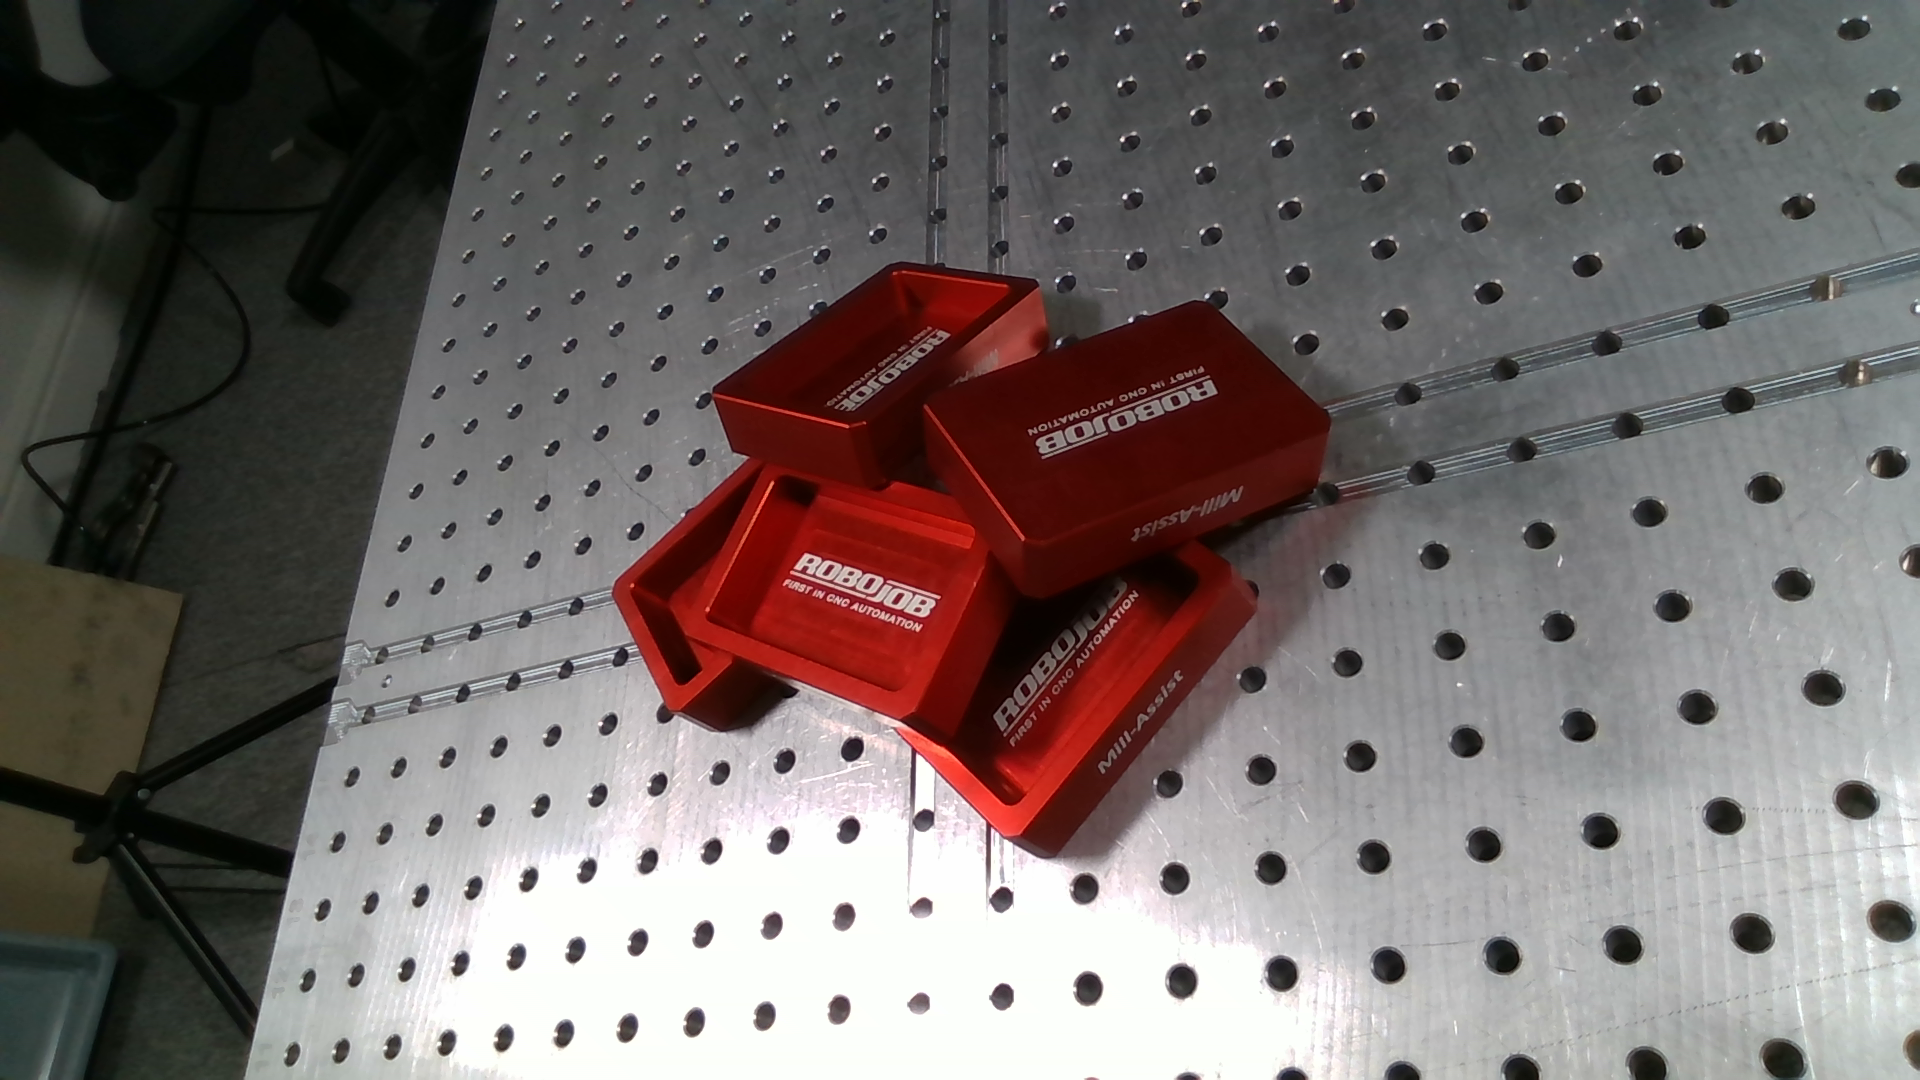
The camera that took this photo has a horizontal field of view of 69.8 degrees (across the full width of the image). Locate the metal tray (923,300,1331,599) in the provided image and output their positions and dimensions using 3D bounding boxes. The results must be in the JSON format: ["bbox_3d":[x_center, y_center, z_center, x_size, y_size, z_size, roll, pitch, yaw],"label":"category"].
[{"bbox_3d":[0.062,-0.038,0.528,0.130,0.030,0.090,-21,50,-16],"label":"metal tray"}]

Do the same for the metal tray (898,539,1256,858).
[{"bbox_3d":[0.040,0.045,0.536,0.130,0.030,0.090,-50,51,-1],"label":"metal tray"}]

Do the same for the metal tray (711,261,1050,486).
[{"bbox_3d":[-0.033,-0.078,0.607,0.090,0.030,0.130,16,44,37],"label":"metal tray"}]

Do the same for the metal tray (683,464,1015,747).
[{"bbox_3d":[-0.044,0.021,0.562,0.130,0.030,0.090,16,75,36],"label":"metal tray"}]

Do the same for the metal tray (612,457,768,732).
[{"bbox_3d":[-0.092,0.013,0.635,0.130,0.030,0.090,-42,51,6],"label":"metal tray"}]
